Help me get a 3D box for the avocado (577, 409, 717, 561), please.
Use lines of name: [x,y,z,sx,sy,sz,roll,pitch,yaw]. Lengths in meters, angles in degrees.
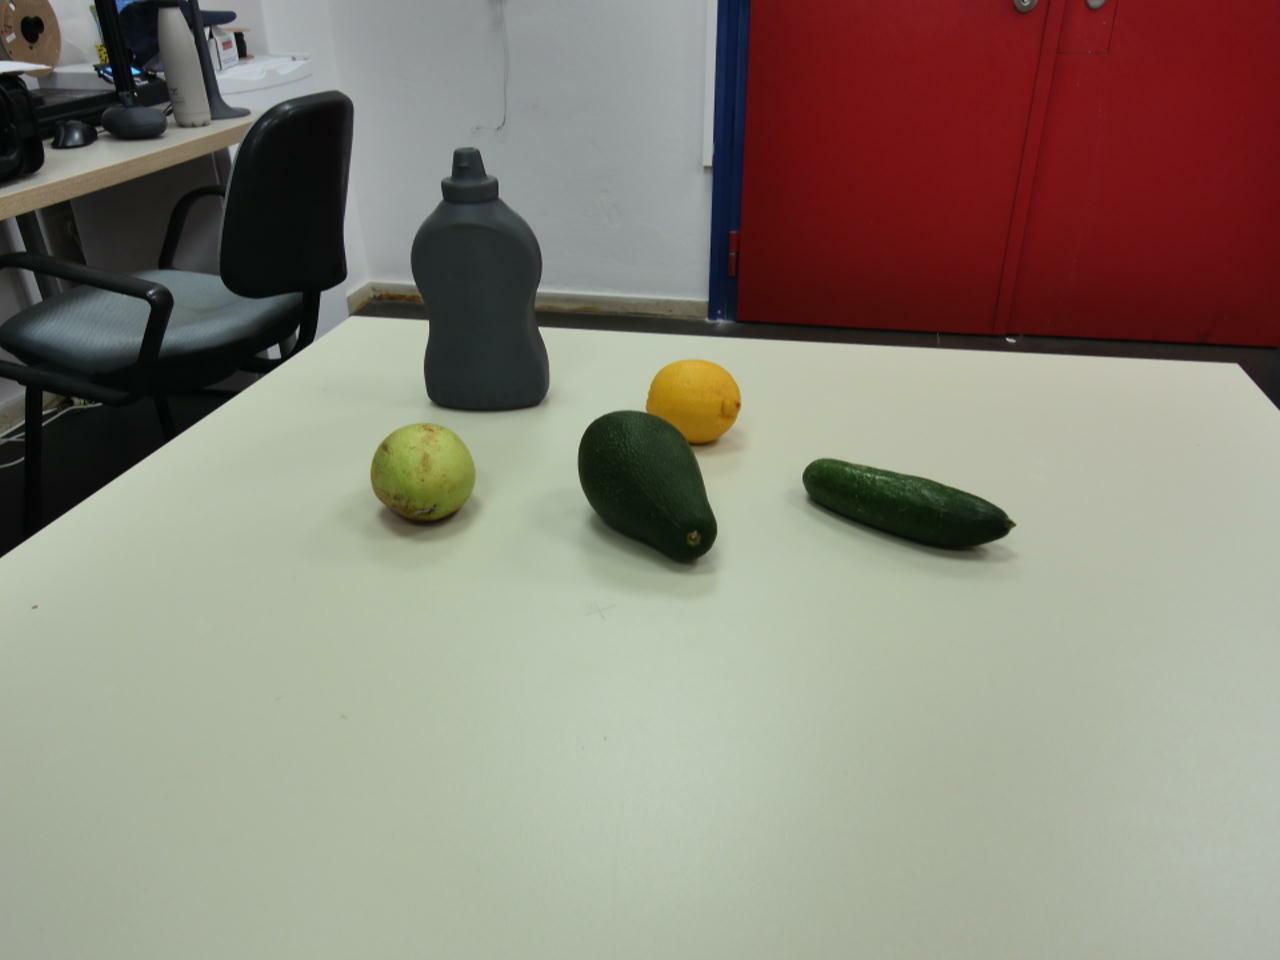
avocado: [0.002,0.002,0.591,0.072,0.071,0.109,-7,26,-10]
